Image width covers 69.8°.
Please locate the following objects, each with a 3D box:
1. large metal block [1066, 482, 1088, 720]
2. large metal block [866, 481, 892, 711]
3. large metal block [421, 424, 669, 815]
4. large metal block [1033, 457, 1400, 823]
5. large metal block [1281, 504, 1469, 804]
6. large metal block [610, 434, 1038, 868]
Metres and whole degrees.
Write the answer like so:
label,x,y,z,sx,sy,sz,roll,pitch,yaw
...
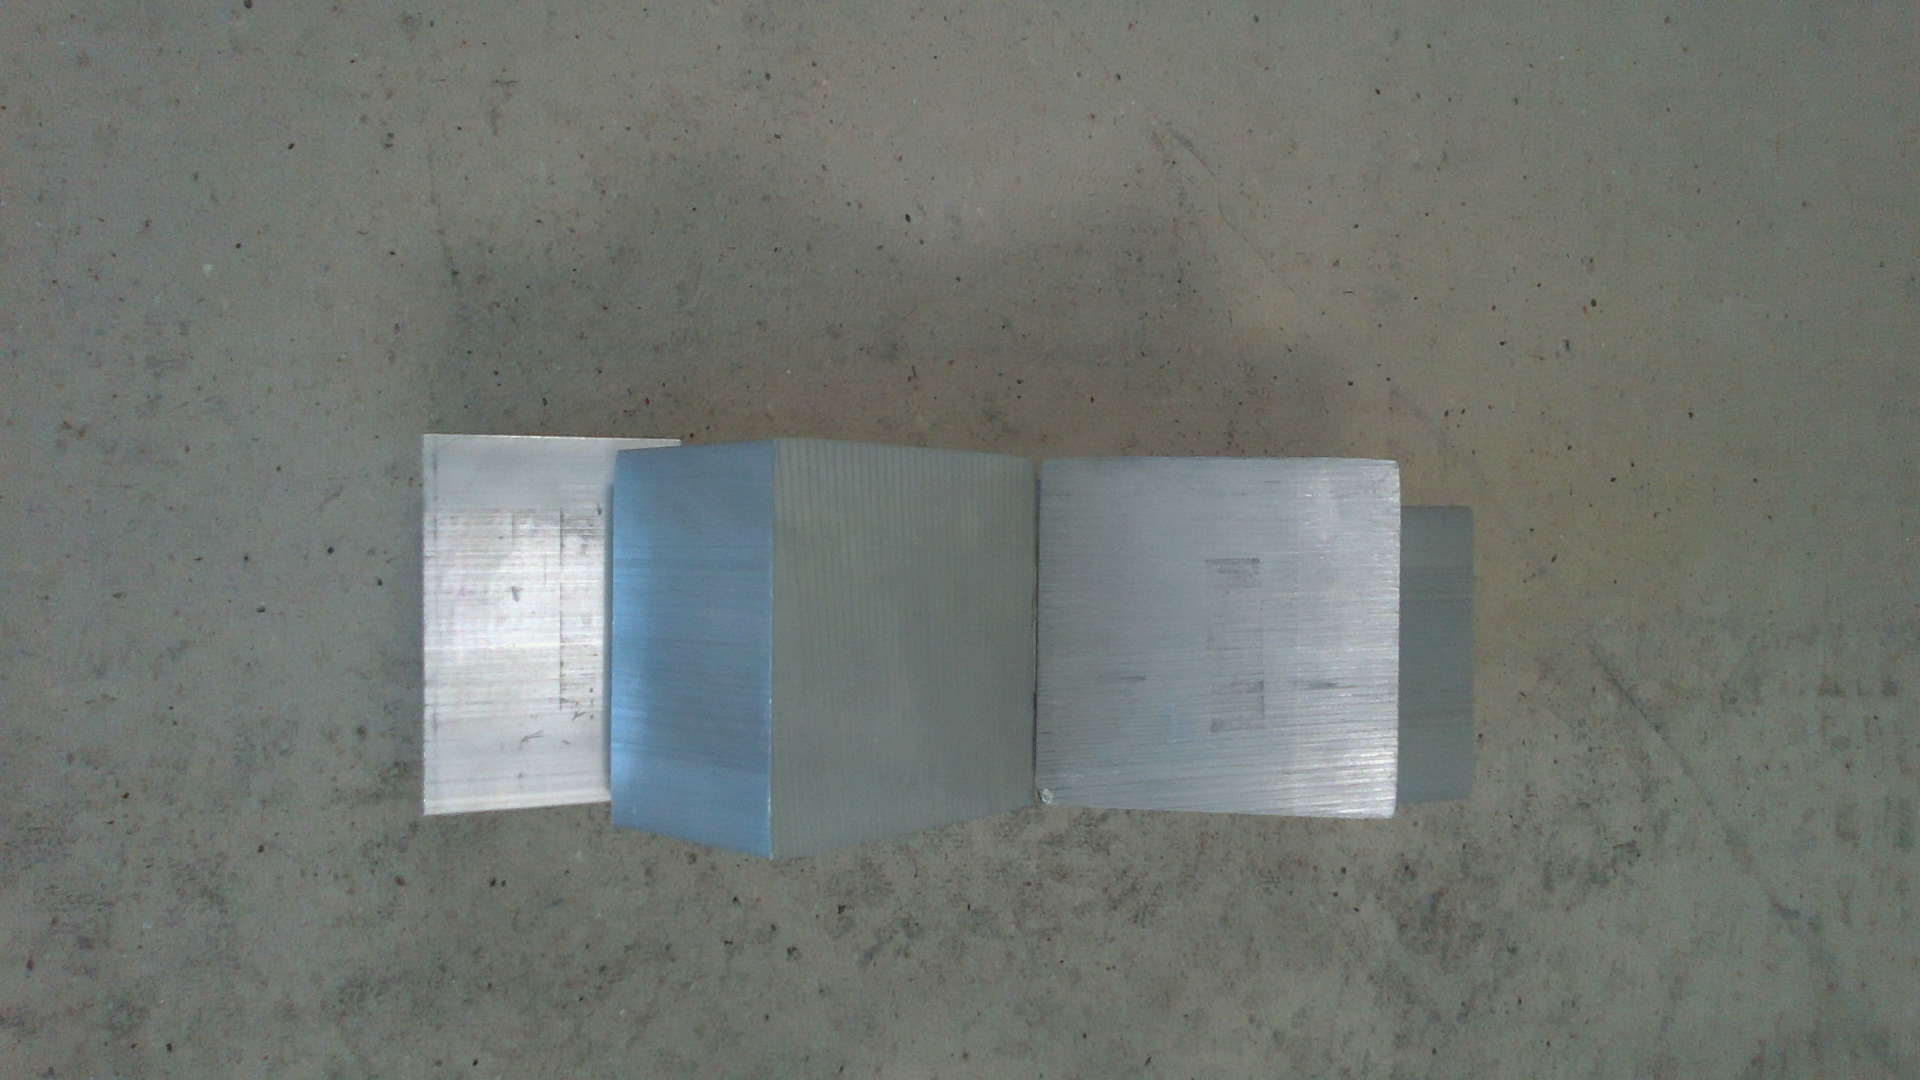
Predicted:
label,x,y,z,sx,sy,sz,roll,pitch,yaw
large metal block,0.035,0.024,0.392,0.080,0.050,0.080,0,90,-20
large metal block,-0.041,0.021,0.365,0.080,0.050,0.080,0,90,-20
large metal block,-0.099,0.017,0.327,0.050,0.080,0.080,-1,89,-19
large metal block,0.060,0.022,0.333,0.080,0.050,0.080,1,89,7
large metal block,0.101,0.030,0.403,0.050,0.080,0.080,0,90,-21
large metal block,-0.027,0.021,0.300,0.080,0.050,0.080,1,90,-49
